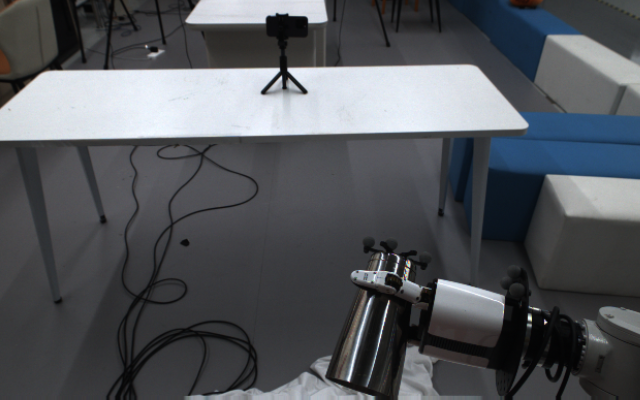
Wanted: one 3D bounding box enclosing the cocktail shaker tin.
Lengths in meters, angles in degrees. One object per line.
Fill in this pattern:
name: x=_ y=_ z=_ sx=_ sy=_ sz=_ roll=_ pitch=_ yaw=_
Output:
cocktail shaker tin: x=0.079 y=0.156 z=0.627 sx=0.093 sy=0.093 sz=0.170 roll=12 pitch=65 yaw=14
